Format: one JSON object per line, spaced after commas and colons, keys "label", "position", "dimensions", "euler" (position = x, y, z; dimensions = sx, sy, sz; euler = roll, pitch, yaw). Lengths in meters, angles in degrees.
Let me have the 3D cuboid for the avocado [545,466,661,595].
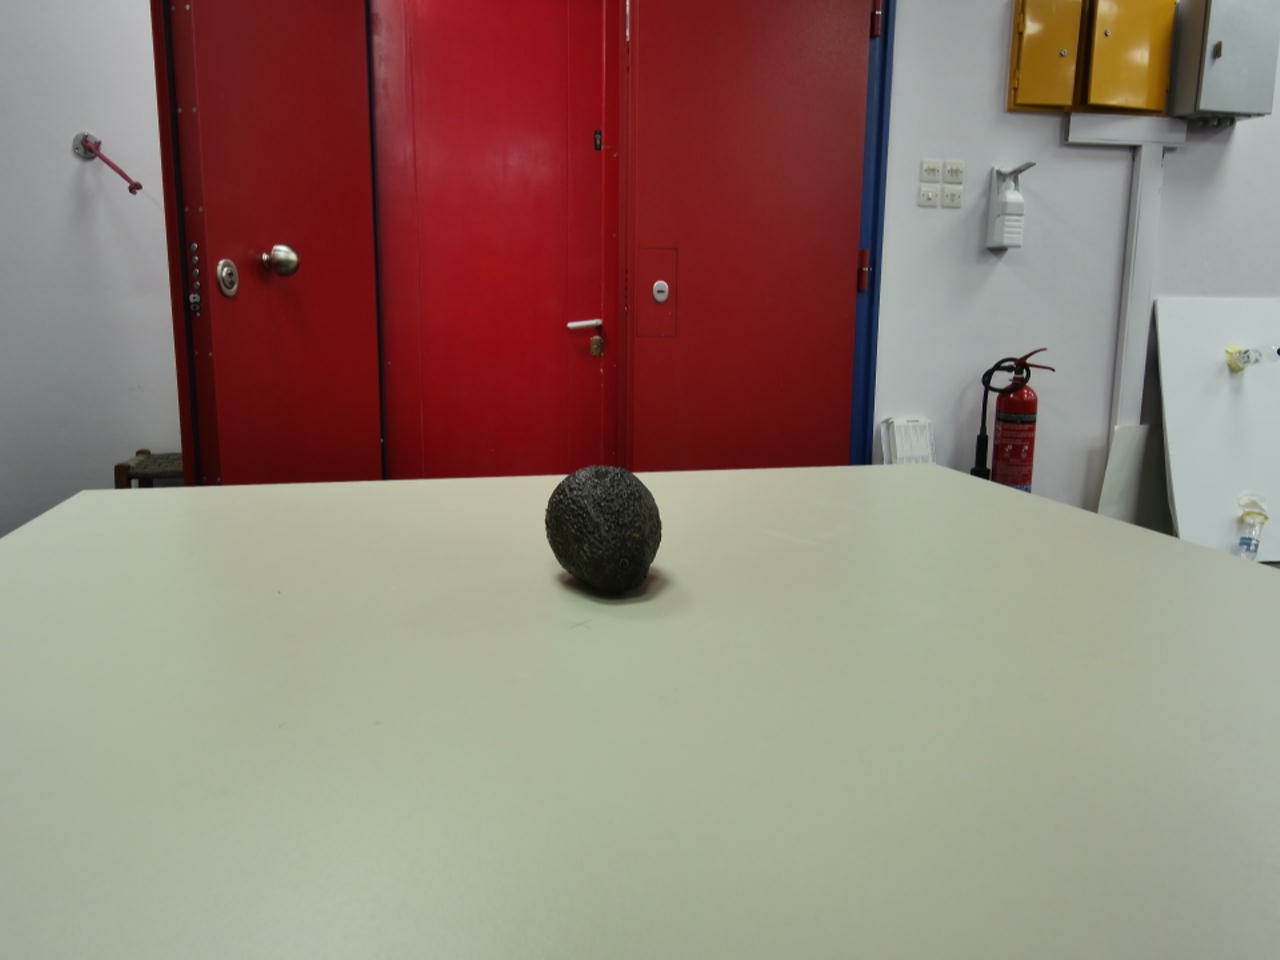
{"label": "avocado", "position": [-0.023, 0.027, 0.590], "dimensions": [0.070, 0.069, 0.090], "euler": [2, 8, 12]}
